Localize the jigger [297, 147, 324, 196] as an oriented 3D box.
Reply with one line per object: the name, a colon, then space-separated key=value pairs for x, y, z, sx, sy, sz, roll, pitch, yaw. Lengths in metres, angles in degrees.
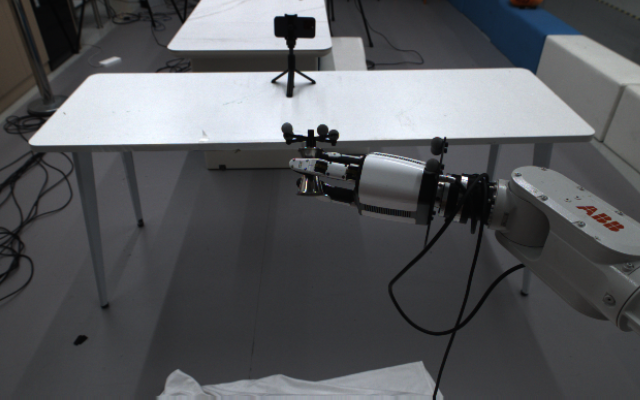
jigger: x=-0.015 y=-0.042 z=0.721 sx=0.043 sy=0.071 sz=0.043 roll=1 pitch=-5 yaw=0
